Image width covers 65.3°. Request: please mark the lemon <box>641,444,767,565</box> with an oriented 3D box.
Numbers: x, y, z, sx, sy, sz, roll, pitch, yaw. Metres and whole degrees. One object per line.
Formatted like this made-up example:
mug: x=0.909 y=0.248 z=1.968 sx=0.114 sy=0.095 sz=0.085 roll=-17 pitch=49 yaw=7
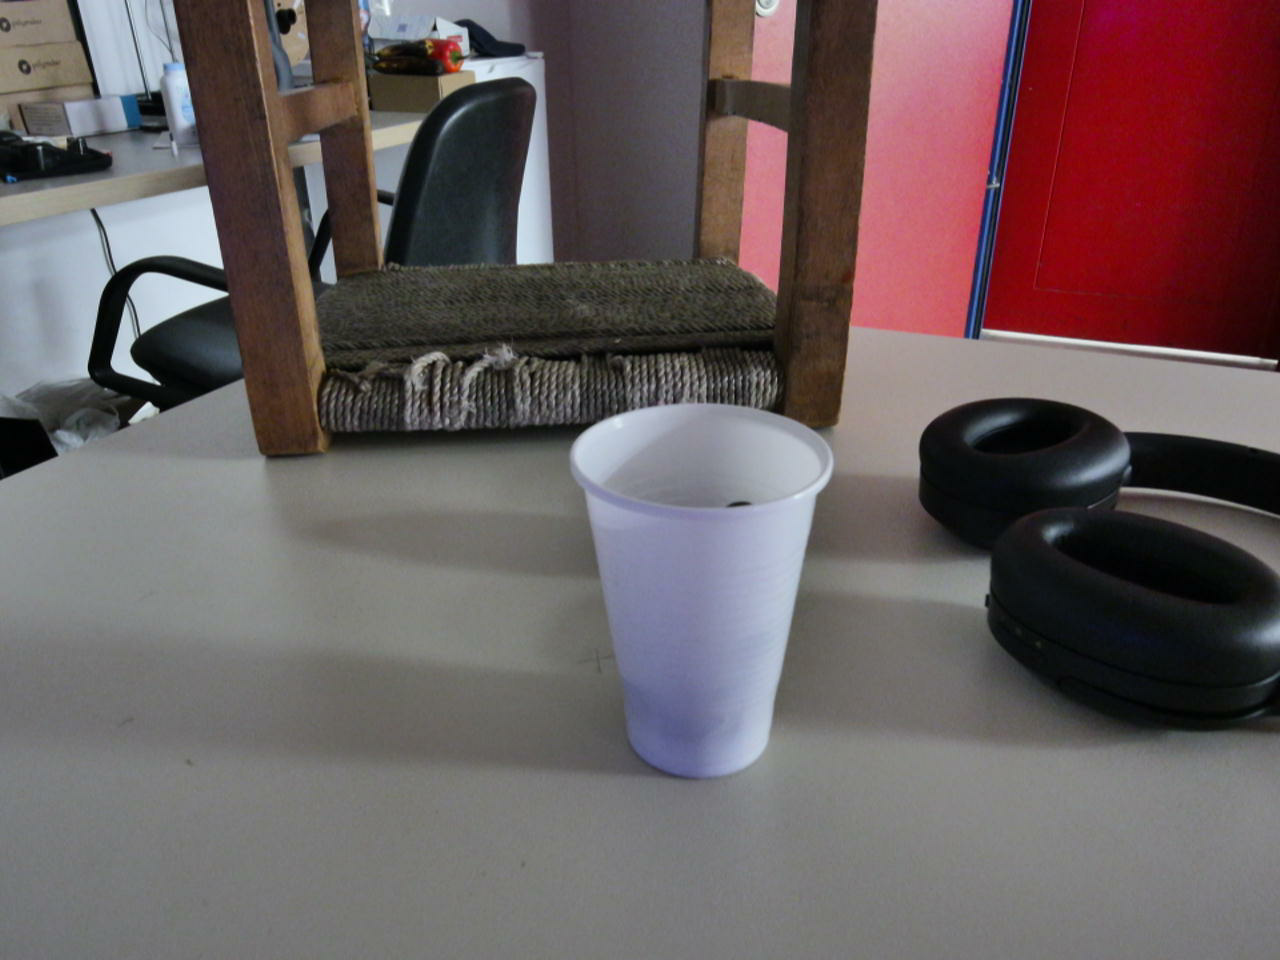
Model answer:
lemon: x=0.028 y=0.010 z=0.441 sx=0.057 sy=0.051 sz=0.054 roll=9 pitch=25 yaw=20
